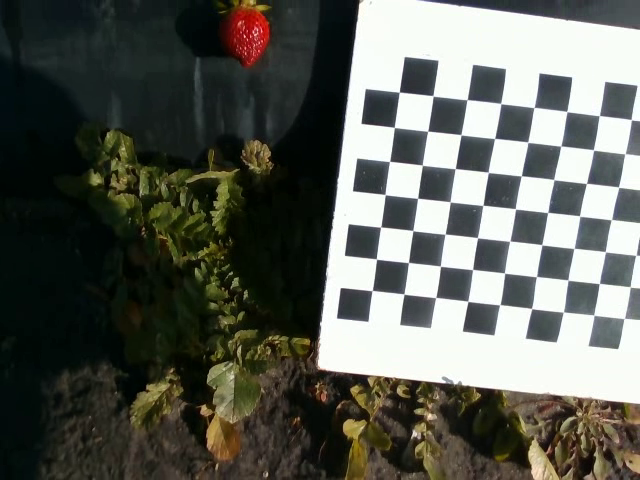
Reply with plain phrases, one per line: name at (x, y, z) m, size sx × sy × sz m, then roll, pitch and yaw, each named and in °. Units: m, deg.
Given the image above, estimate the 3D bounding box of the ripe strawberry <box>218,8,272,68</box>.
ripe strawberry at (-0.049, -0.131, 0.377) m, size 0.040 × 0.044 × 0.036 m, roll -13°, pitch -4°, yaw 1°
